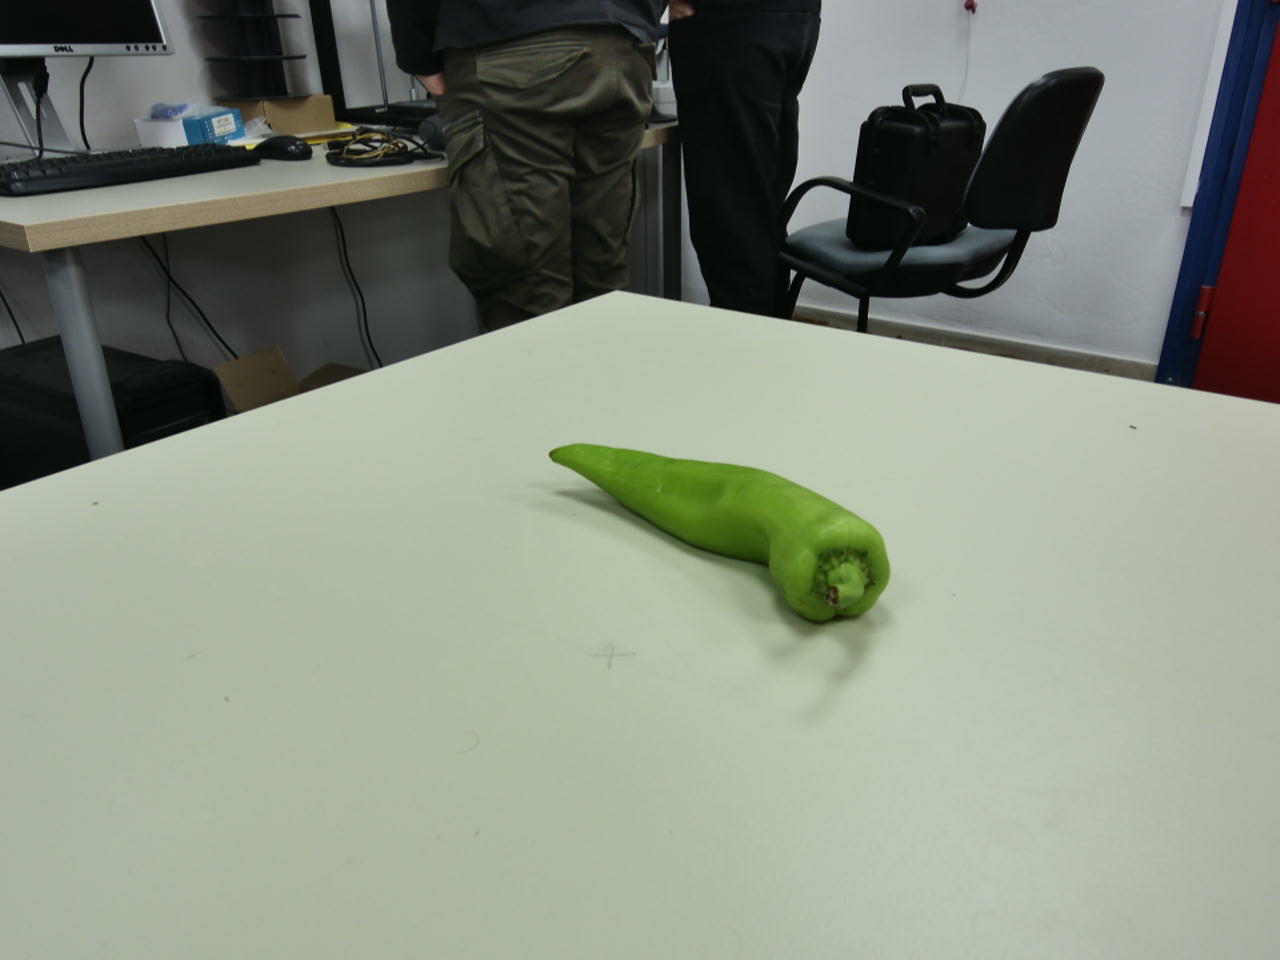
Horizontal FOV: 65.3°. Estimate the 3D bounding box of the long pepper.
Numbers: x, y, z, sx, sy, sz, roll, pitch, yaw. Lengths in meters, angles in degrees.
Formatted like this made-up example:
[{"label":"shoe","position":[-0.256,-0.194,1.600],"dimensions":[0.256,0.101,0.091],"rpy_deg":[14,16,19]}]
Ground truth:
[{"label":"long pepper","position":[0.038,0.013,0.457],"dimensions":[0.065,0.045,0.205],"rpy_deg":[-15,27,-32]}]
